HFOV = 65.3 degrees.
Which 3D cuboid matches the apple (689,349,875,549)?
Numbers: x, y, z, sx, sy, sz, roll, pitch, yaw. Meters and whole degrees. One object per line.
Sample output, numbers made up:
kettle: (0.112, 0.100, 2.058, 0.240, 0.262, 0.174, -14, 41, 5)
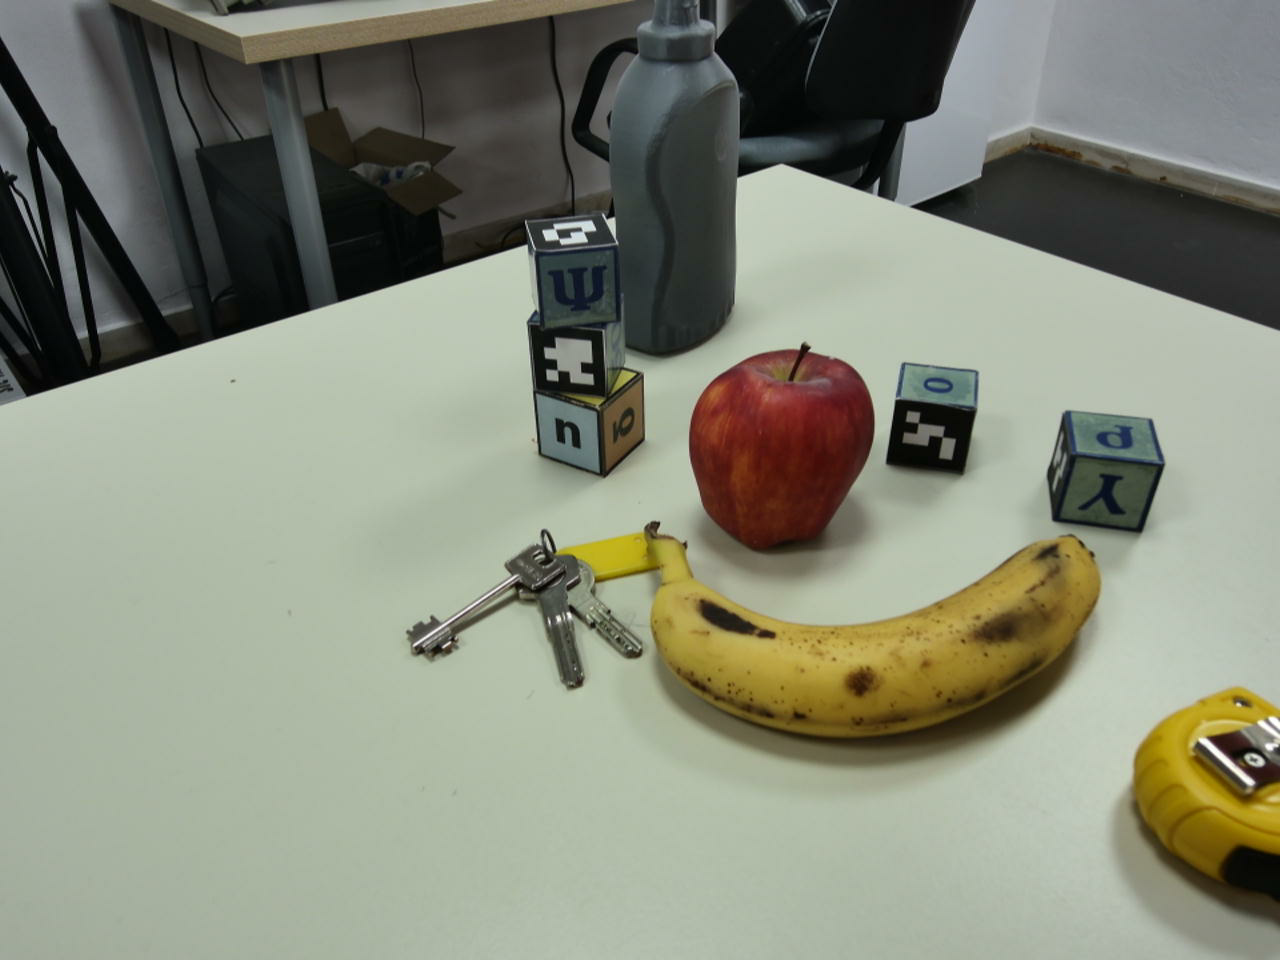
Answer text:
apple: (0.062, -0.020, 0.436, 0.083, 0.090, 0.083, 0, 35, 0)
